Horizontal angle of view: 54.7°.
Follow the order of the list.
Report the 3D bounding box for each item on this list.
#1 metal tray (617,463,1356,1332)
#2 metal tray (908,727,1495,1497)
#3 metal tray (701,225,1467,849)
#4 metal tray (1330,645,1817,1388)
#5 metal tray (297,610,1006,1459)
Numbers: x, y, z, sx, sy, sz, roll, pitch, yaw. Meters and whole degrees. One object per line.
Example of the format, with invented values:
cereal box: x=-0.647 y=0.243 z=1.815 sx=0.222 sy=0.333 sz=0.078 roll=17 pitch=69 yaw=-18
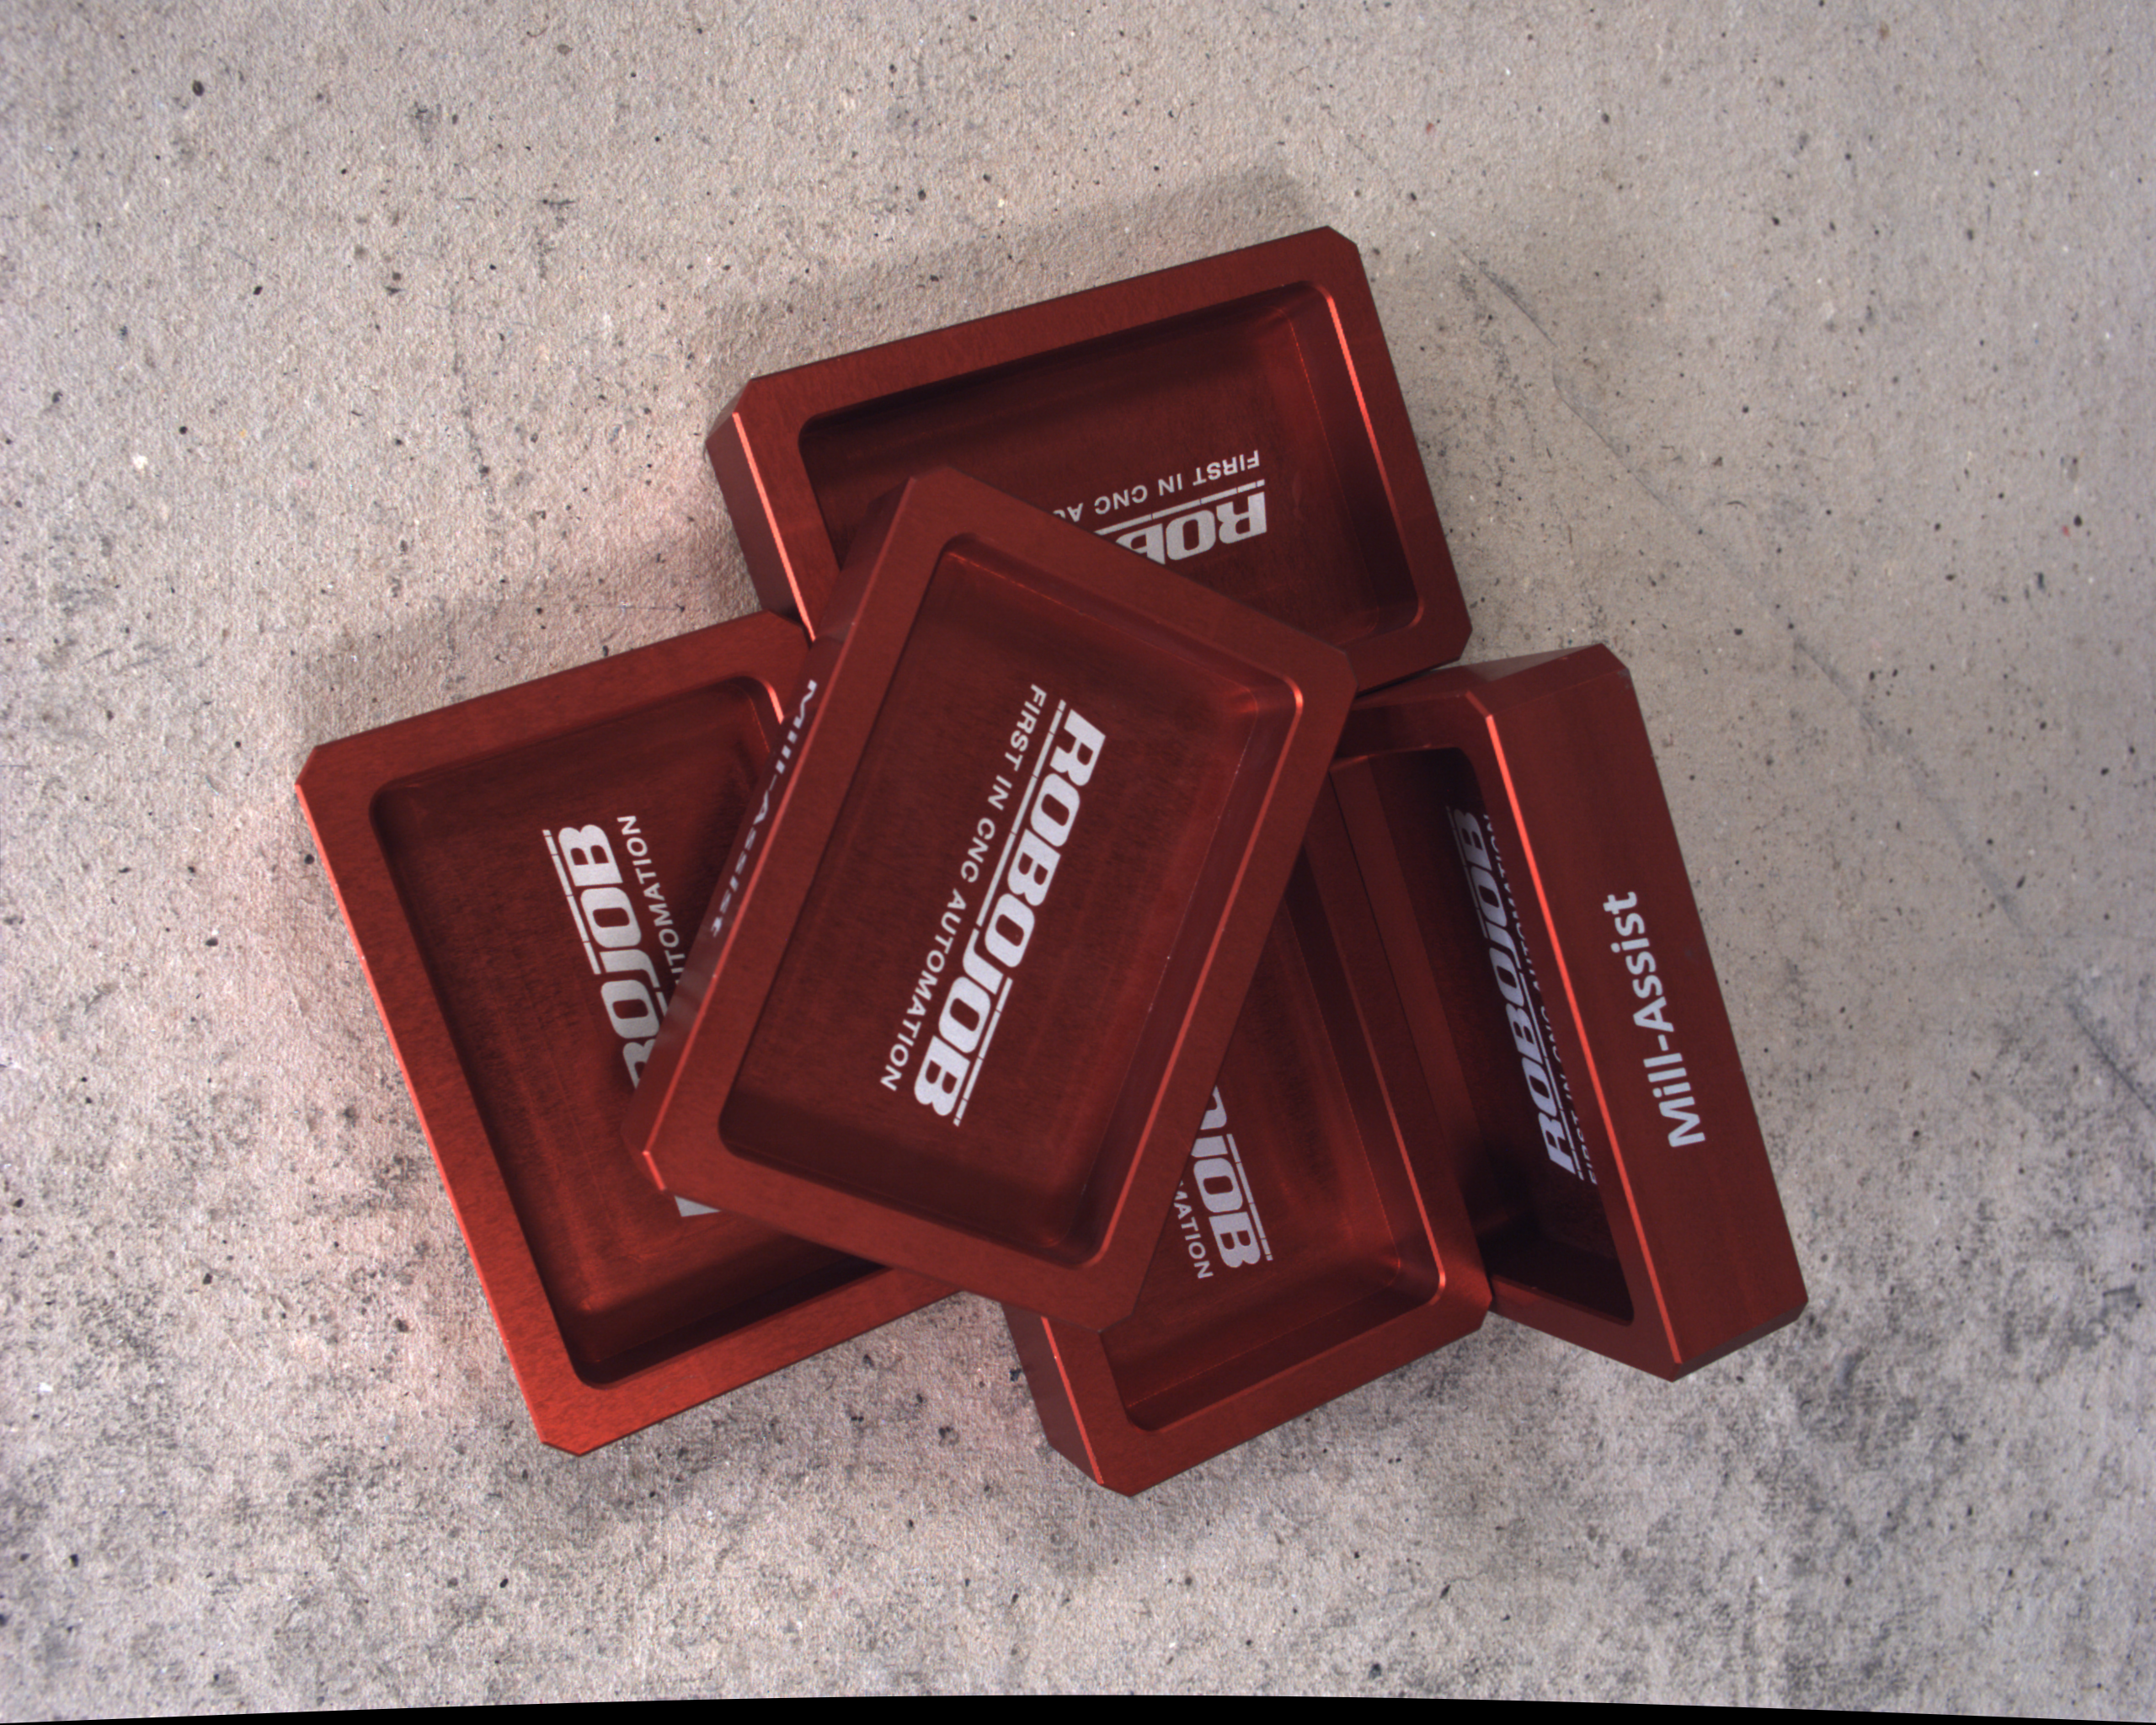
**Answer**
metal tray: x=-0.015 y=0.007 z=0.371 sx=0.091 sy=0.030 sz=0.130 roll=23 pitch=83 yaw=-18
metal tray: x=0.021 y=0.046 z=0.413 sx=0.091 sy=0.030 sz=0.129 roll=-20 pitch=98 yaw=-18
metal tray: x=0.003 y=-0.064 z=0.409 sx=0.131 sy=0.030 sz=0.090 roll=-20 pitch=97 yaw=-18
metal tray: x=0.087 y=0.027 z=0.405 sx=0.030 sy=0.090 sz=0.129 roll=-20 pitch=97 yaw=-19
metal tray: x=-0.075 y=0.029 z=0.379 sx=0.091 sy=0.030 sz=0.129 roll=-20 pitch=96 yaw=-19
